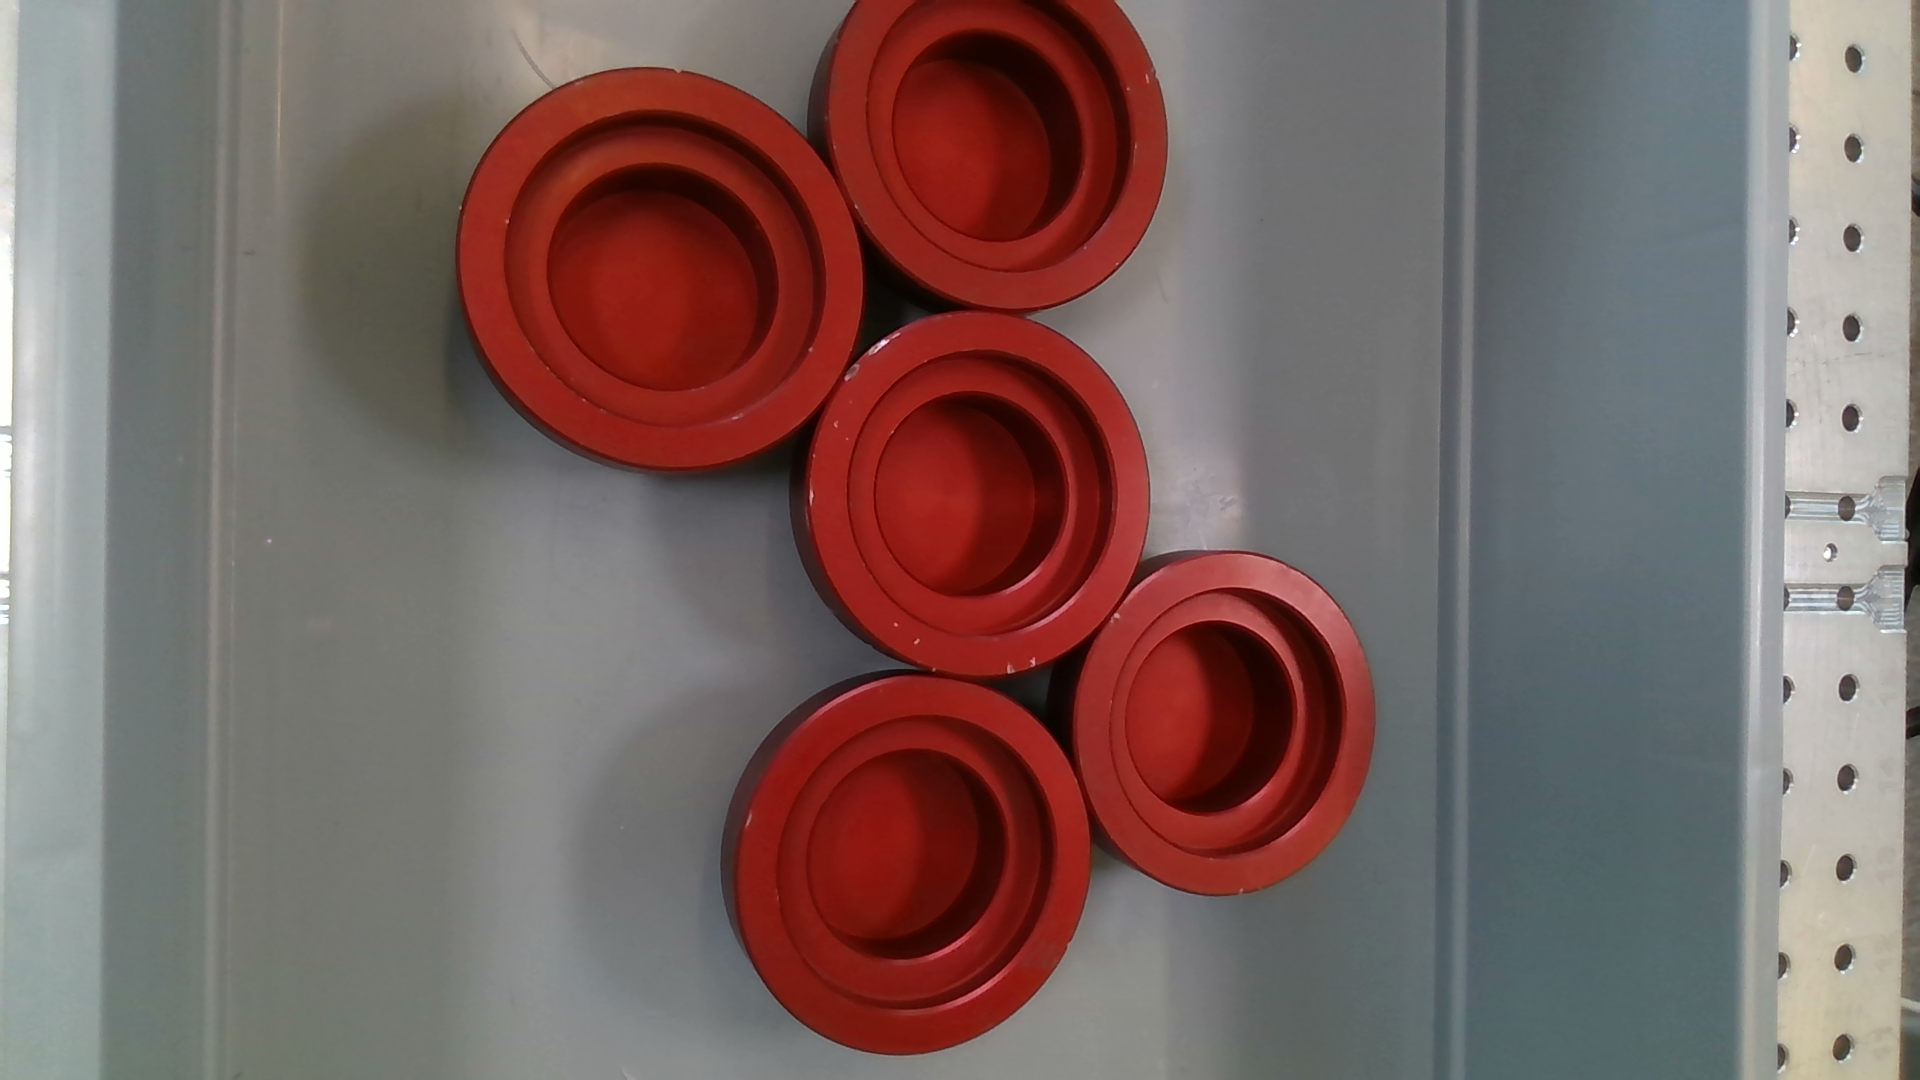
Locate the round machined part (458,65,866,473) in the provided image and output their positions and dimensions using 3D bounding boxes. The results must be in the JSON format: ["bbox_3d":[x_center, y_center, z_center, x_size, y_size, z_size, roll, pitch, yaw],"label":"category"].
[{"bbox_3d":[-0.077,-0.066,0.354,0.098,0.042,0.098,0,90,-20],"label":"round machined part"}]

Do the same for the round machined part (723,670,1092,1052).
[{"bbox_3d":[-0.017,0.084,0.377,0.098,0.042,0.098,0,90,-20],"label":"round machined part"}]

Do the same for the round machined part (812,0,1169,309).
[{"bbox_3d":[0.005,-0.111,0.385,0.098,0.042,0.098,0,90,-20],"label":"round machined part"}]

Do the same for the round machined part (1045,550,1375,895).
[{"bbox_3d":[0.070,0.052,0.409,0.098,0.042,0.098,0,90,-20],"label":"round machined part"}]

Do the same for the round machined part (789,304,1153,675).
[{"bbox_3d":[0.000,-0.013,0.382,0.098,0.042,0.098,0,90,-20],"label":"round machined part"}]
